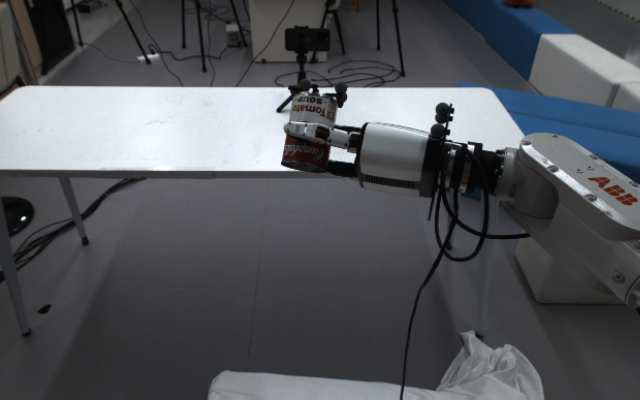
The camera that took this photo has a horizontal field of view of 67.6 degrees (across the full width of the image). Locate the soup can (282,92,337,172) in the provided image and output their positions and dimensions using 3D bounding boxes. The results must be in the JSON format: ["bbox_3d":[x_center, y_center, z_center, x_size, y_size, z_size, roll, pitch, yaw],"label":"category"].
[{"bbox_3d":[-0.015,-0.096,0.693,0.067,0.101,0.067,9,-5,1],"label":"soup can"}]
